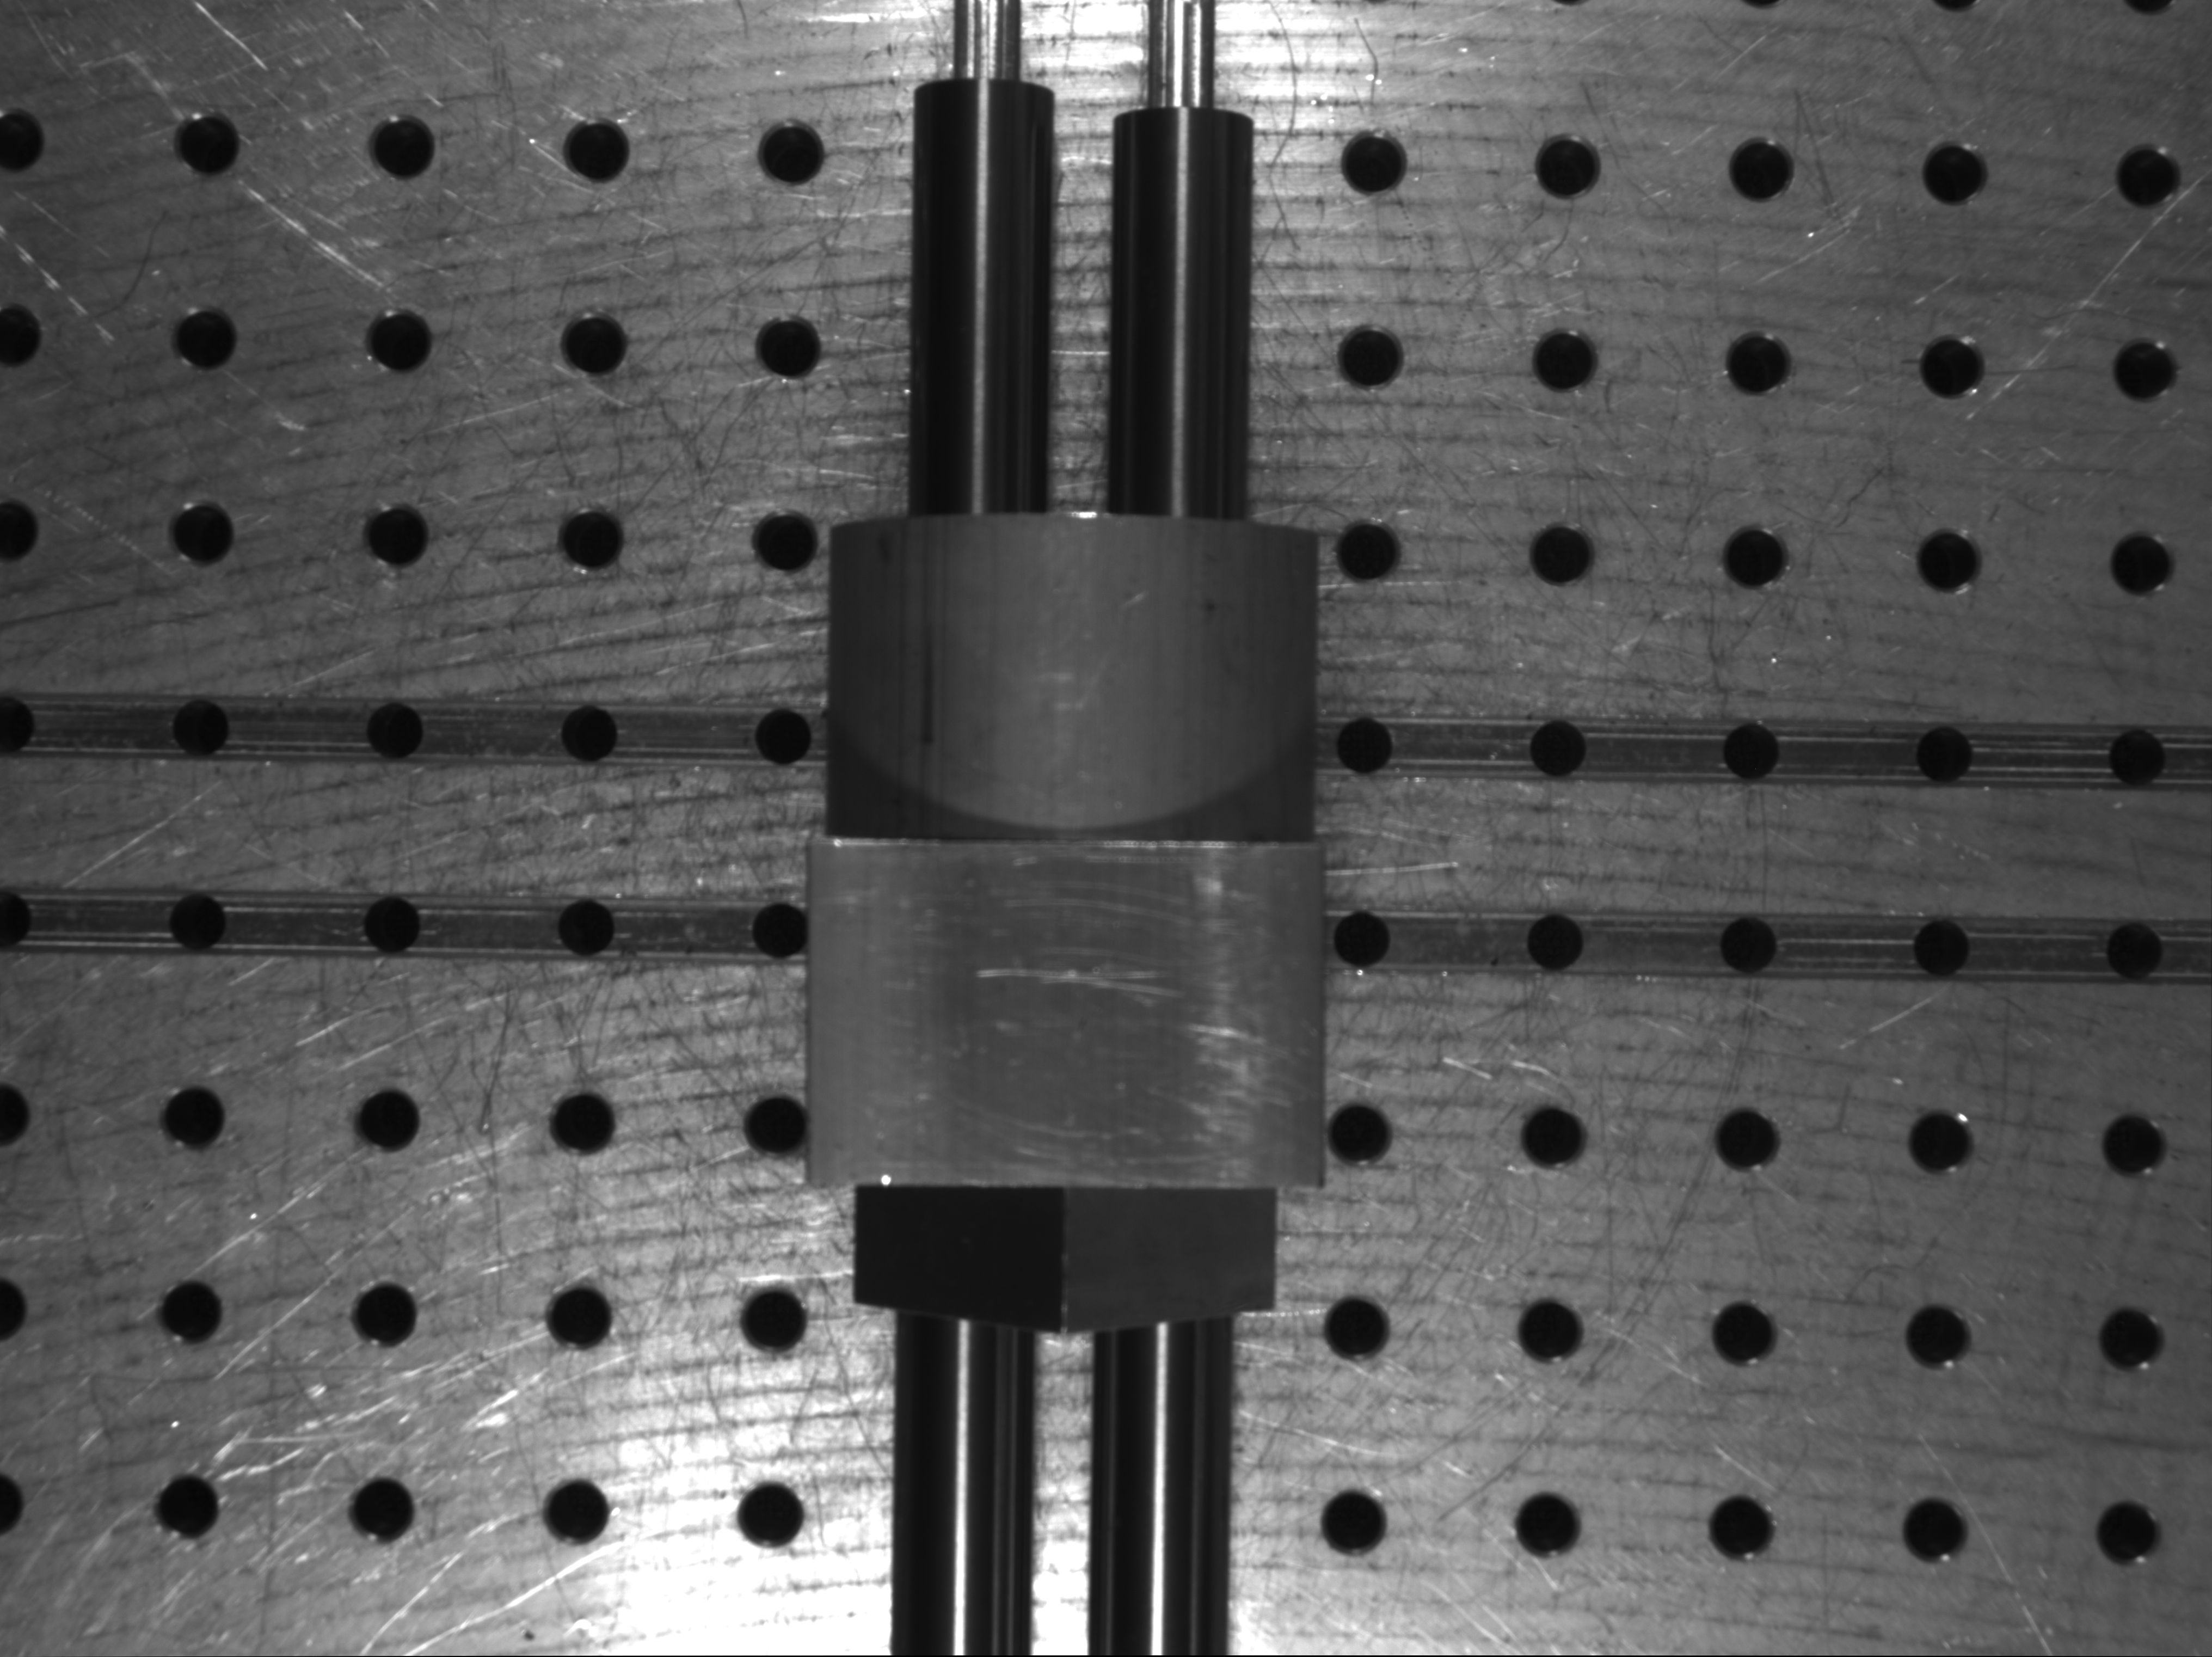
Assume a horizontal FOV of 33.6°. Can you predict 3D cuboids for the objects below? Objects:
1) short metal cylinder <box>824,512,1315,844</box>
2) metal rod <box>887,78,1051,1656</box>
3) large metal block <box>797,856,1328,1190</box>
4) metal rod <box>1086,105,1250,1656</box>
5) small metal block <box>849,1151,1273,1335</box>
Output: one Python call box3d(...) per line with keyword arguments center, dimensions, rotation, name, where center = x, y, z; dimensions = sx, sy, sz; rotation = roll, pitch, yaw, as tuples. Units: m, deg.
box3d(center=(-0.006, -0.023, 0.599), dimensions=(0.080, 0.080, 0.050), rotation=(1, 90, 0), name="short metal cylinder")
box3d(center=(-0.024, 0.020, 0.648), dimensions=(0.025, 0.025, 0.300), rotation=(1, 90, 0), name="metal rod")
box3d(center=(-0.007, 0.030, 0.595), dimensions=(0.080, 0.080, 0.050), rotation=(0, 90, 0), name="large metal block")
box3d(center=(0.011, 0.024, 0.649), dimensions=(0.025, 0.025, 0.300), rotation=(1, 90, 0), name="metal rod")
box3d(center=(-0.007, 0.067, 0.612), dimensions=(0.050, 0.050, 0.025), rotation=(1, 90, -45), name="small metal block")
